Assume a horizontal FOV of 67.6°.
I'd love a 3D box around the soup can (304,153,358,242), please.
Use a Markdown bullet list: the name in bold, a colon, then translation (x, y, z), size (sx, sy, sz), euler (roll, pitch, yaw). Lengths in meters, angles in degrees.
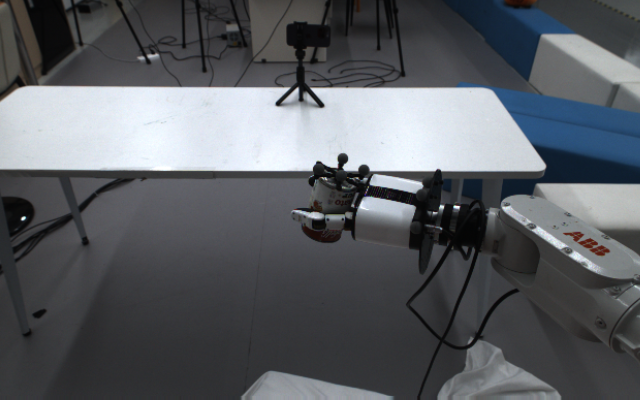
- **soup can**: translation (0.015, 0.008, 0.763), size (0.067, 0.101, 0.067), euler (13, 30, -8)
